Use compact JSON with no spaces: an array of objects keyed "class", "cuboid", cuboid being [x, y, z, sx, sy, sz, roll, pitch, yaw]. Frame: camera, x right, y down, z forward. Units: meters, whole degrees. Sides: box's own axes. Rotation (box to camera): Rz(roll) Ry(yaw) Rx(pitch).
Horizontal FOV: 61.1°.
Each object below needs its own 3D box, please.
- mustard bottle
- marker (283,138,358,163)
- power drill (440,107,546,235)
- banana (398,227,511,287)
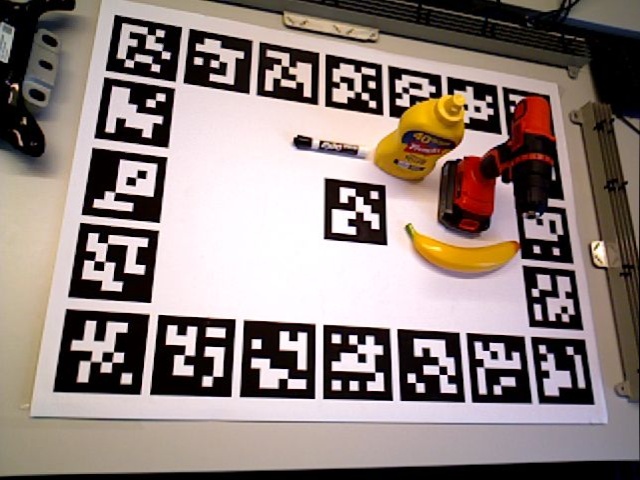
[{"class":"mustard bottle","cuboid":[0.145,-0.144,0.799,0.095,0.195,0.058,17,69,-11]},{"class":"marker","cuboid":[0.001,-0.141,0.853,0.120,0.020,0.019,9,72,-13]},{"class":"power drill","cuboid":[0.248,-0.076,0.789,0.057,0.190,0.182,20,67,-11]},{"class":"banana","cuboid":[0.210,0.035,0.851,0.196,0.039,0.073,14,73,-9]}]
